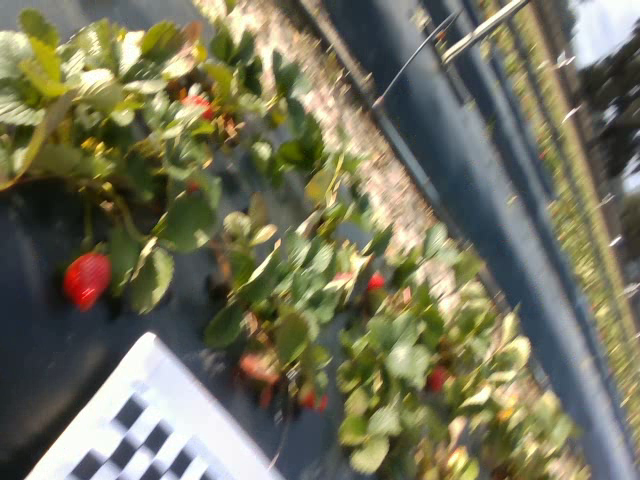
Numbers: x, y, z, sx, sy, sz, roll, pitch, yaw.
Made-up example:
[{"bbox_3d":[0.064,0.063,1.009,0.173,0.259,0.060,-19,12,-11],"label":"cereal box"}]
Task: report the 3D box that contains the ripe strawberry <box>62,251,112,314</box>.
[{"bbox_3d":[-0.176,0.038,0.474,0.041,0.047,0.041,15,-53,-33],"label":"ripe strawberry"}]
